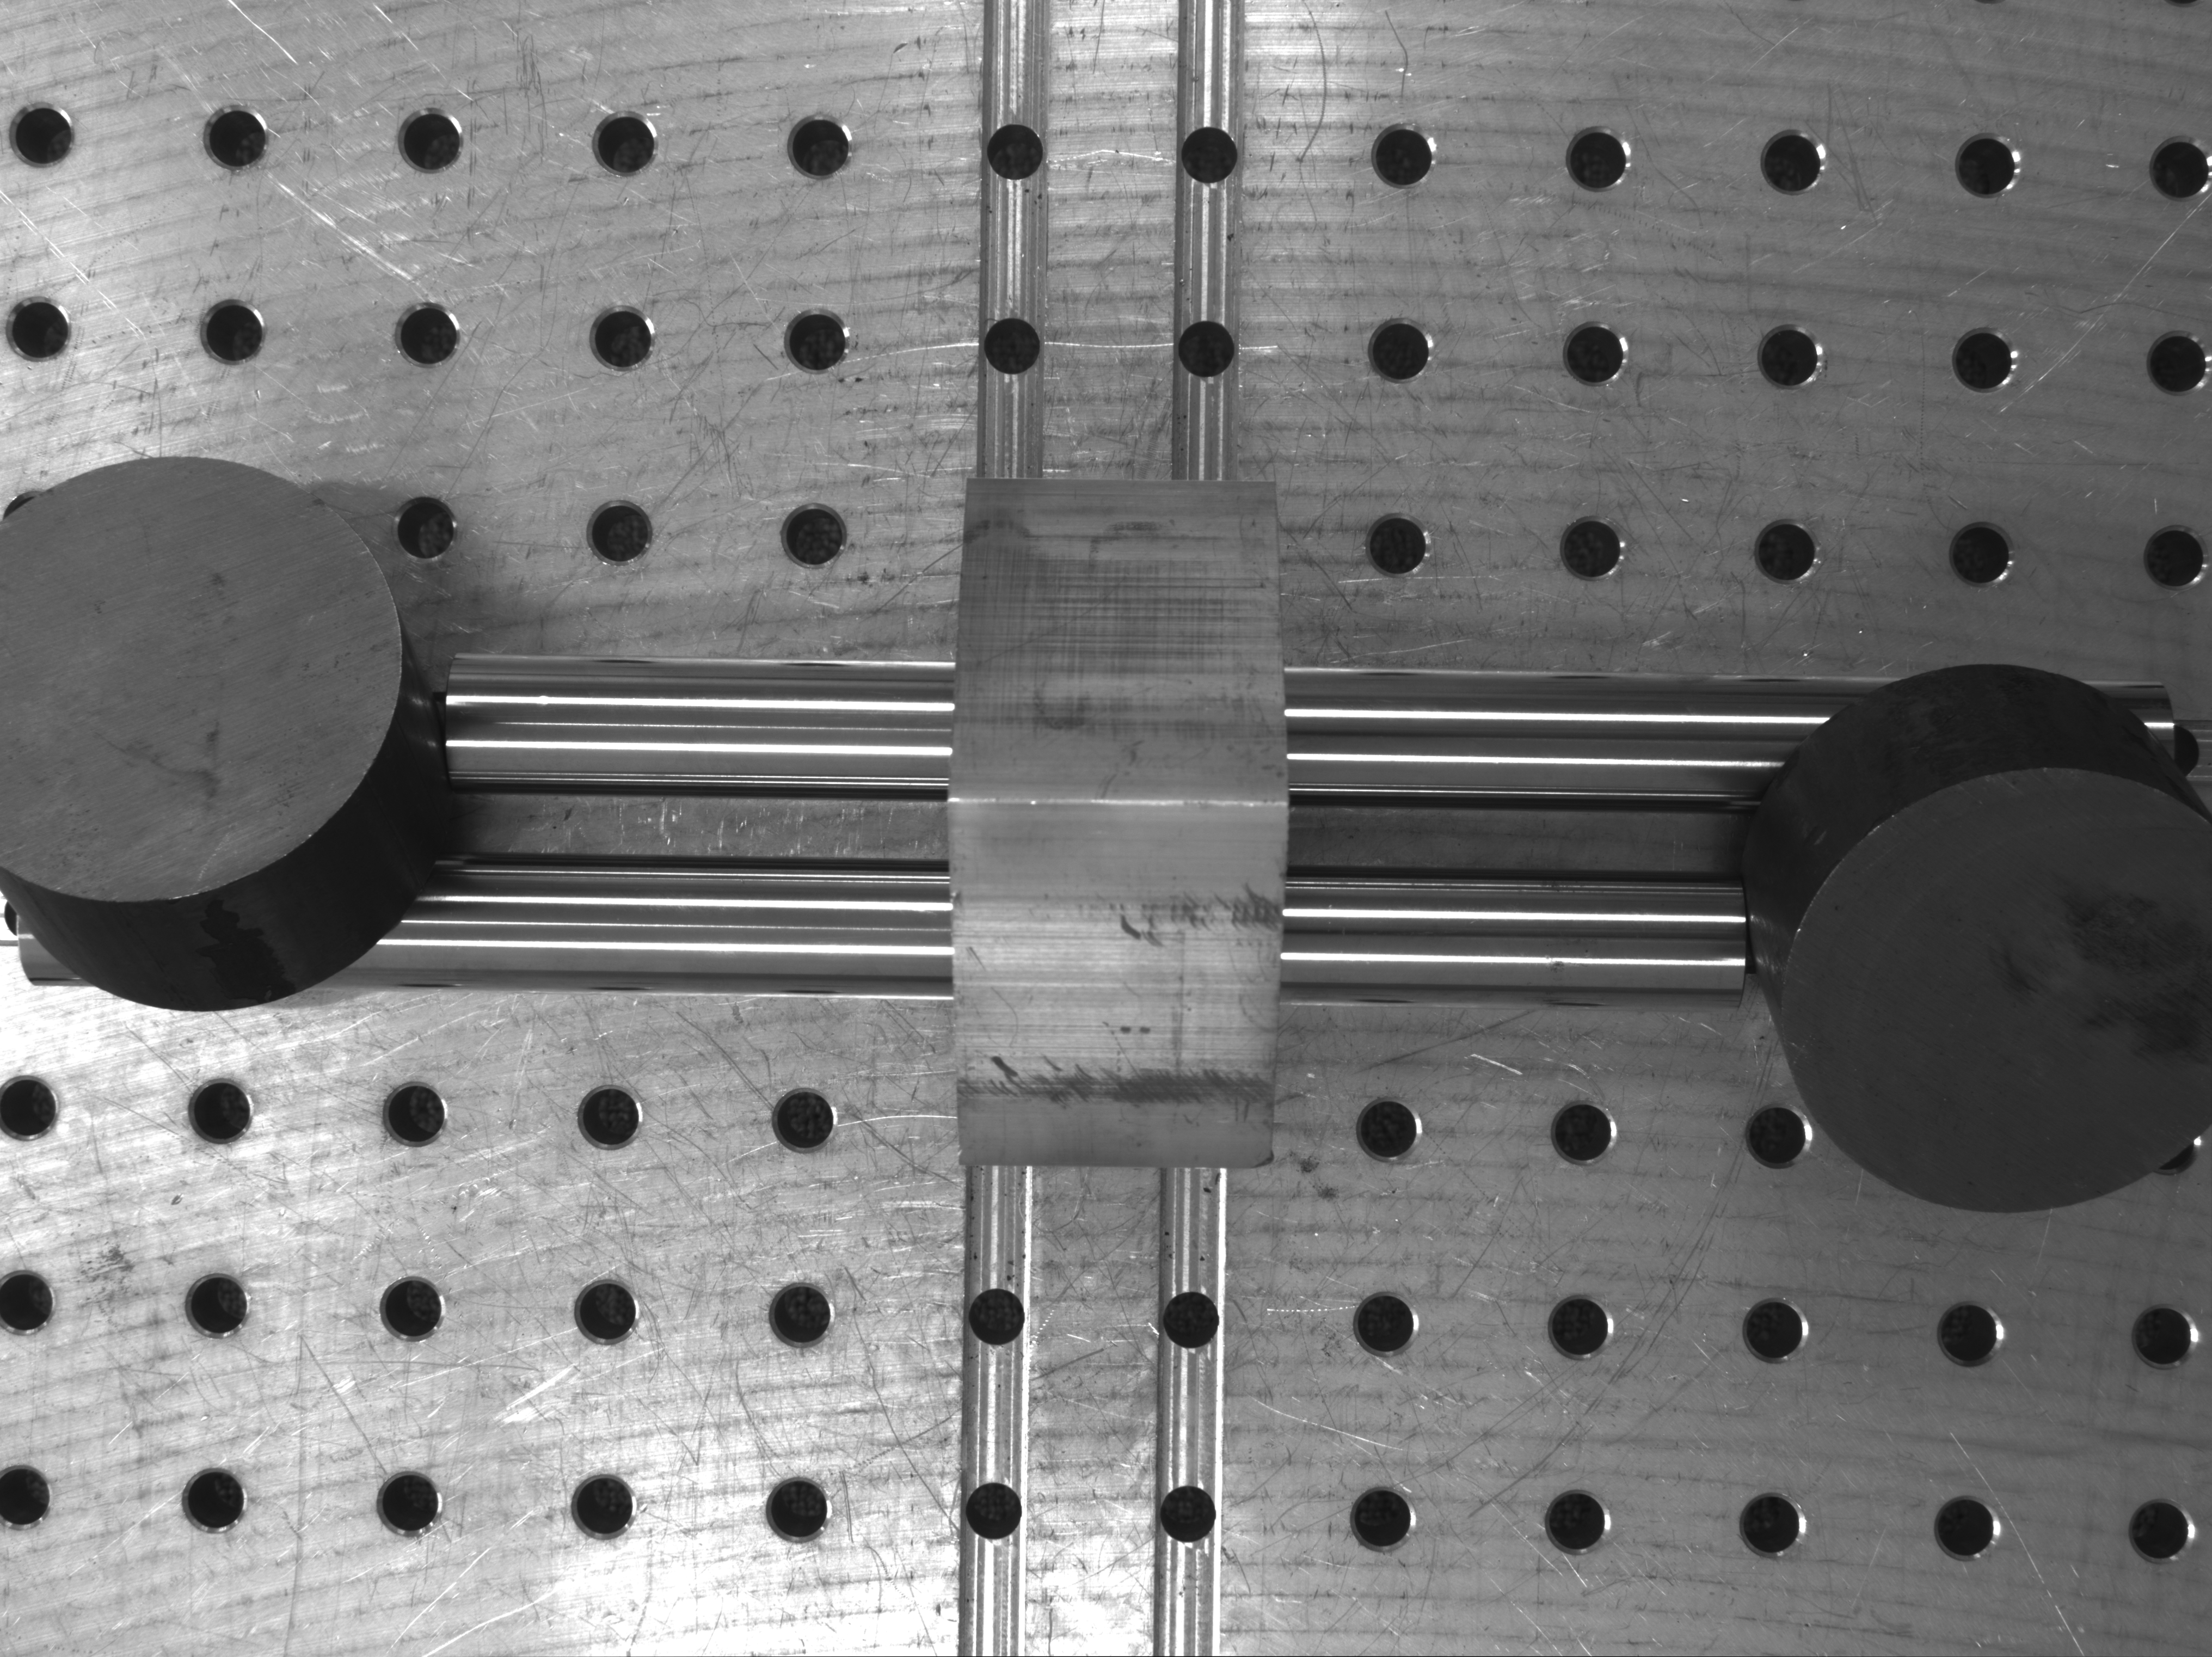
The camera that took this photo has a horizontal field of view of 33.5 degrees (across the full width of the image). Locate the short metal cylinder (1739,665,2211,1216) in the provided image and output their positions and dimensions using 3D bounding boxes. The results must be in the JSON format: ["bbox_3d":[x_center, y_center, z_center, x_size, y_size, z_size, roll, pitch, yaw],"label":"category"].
[{"bbox_3d":[0.151,0.018,0.623,0.080,0.050,0.080,0,112,1],"label":"short metal cylinder"}]

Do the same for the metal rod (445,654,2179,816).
[{"bbox_3d":[0.036,-0.016,0.648,0.300,0.025,0.025,1,90,0],"label":"metal rod"}]

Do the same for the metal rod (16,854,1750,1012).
[{"bbox_3d":[-0.038,0.018,0.648,0.300,0.025,0.025,1,90,0],"label":"metal rod"}]

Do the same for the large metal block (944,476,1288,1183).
[{"bbox_3d":[0.002,0.000,0.591,0.050,0.080,0.080,1,132,0],"label":"large metal block"}]

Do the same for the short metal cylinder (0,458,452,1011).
[{"bbox_3d":[-0.155,-0.015,0.621,0.080,0.050,0.080,0,67,0],"label":"short metal cylinder"}]
